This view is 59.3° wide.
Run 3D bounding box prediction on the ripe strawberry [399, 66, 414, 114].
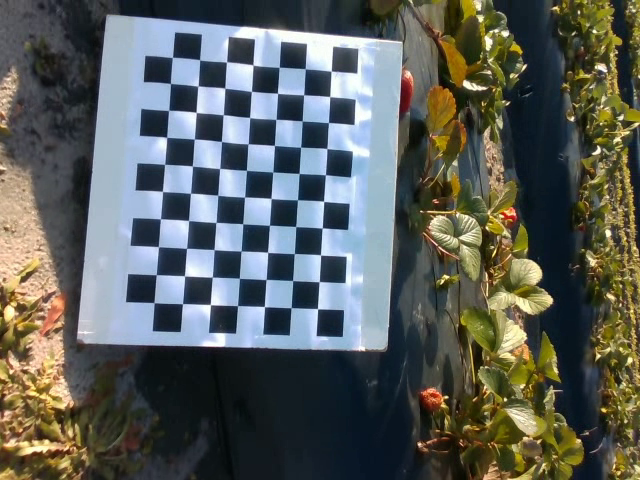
[{"bbox_3d":[0.098,-0.167,0.659,0.044,0.064,0.043,-14,-1,-8],"label":"ripe strawberry"}]
